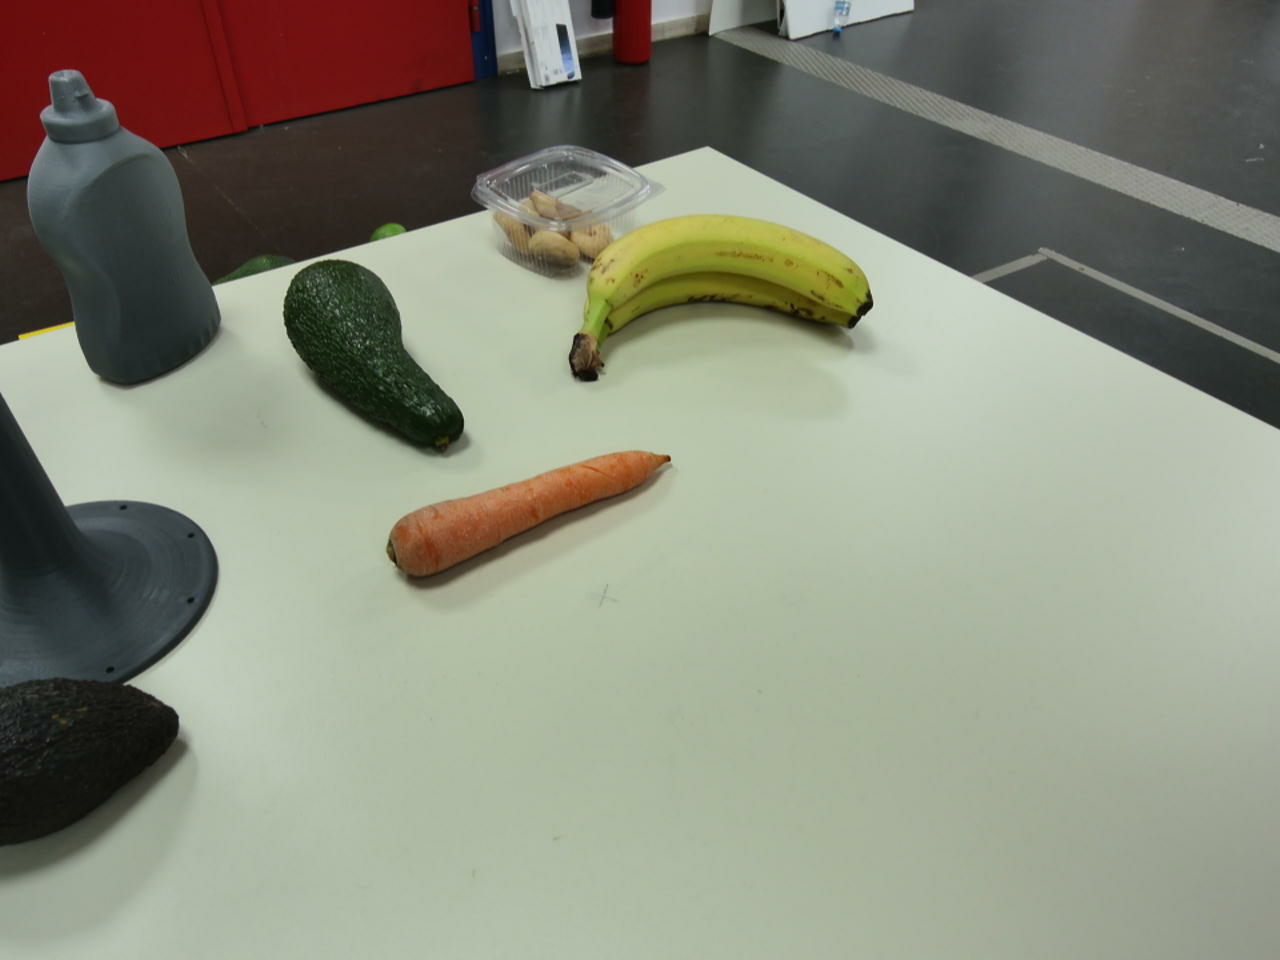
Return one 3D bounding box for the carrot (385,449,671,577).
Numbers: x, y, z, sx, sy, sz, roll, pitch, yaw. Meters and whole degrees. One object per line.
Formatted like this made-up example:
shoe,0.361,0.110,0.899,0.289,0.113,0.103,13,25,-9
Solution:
carrot,-0.061,0.009,0.607,0.196,0.041,0.039,-24,45,-28
